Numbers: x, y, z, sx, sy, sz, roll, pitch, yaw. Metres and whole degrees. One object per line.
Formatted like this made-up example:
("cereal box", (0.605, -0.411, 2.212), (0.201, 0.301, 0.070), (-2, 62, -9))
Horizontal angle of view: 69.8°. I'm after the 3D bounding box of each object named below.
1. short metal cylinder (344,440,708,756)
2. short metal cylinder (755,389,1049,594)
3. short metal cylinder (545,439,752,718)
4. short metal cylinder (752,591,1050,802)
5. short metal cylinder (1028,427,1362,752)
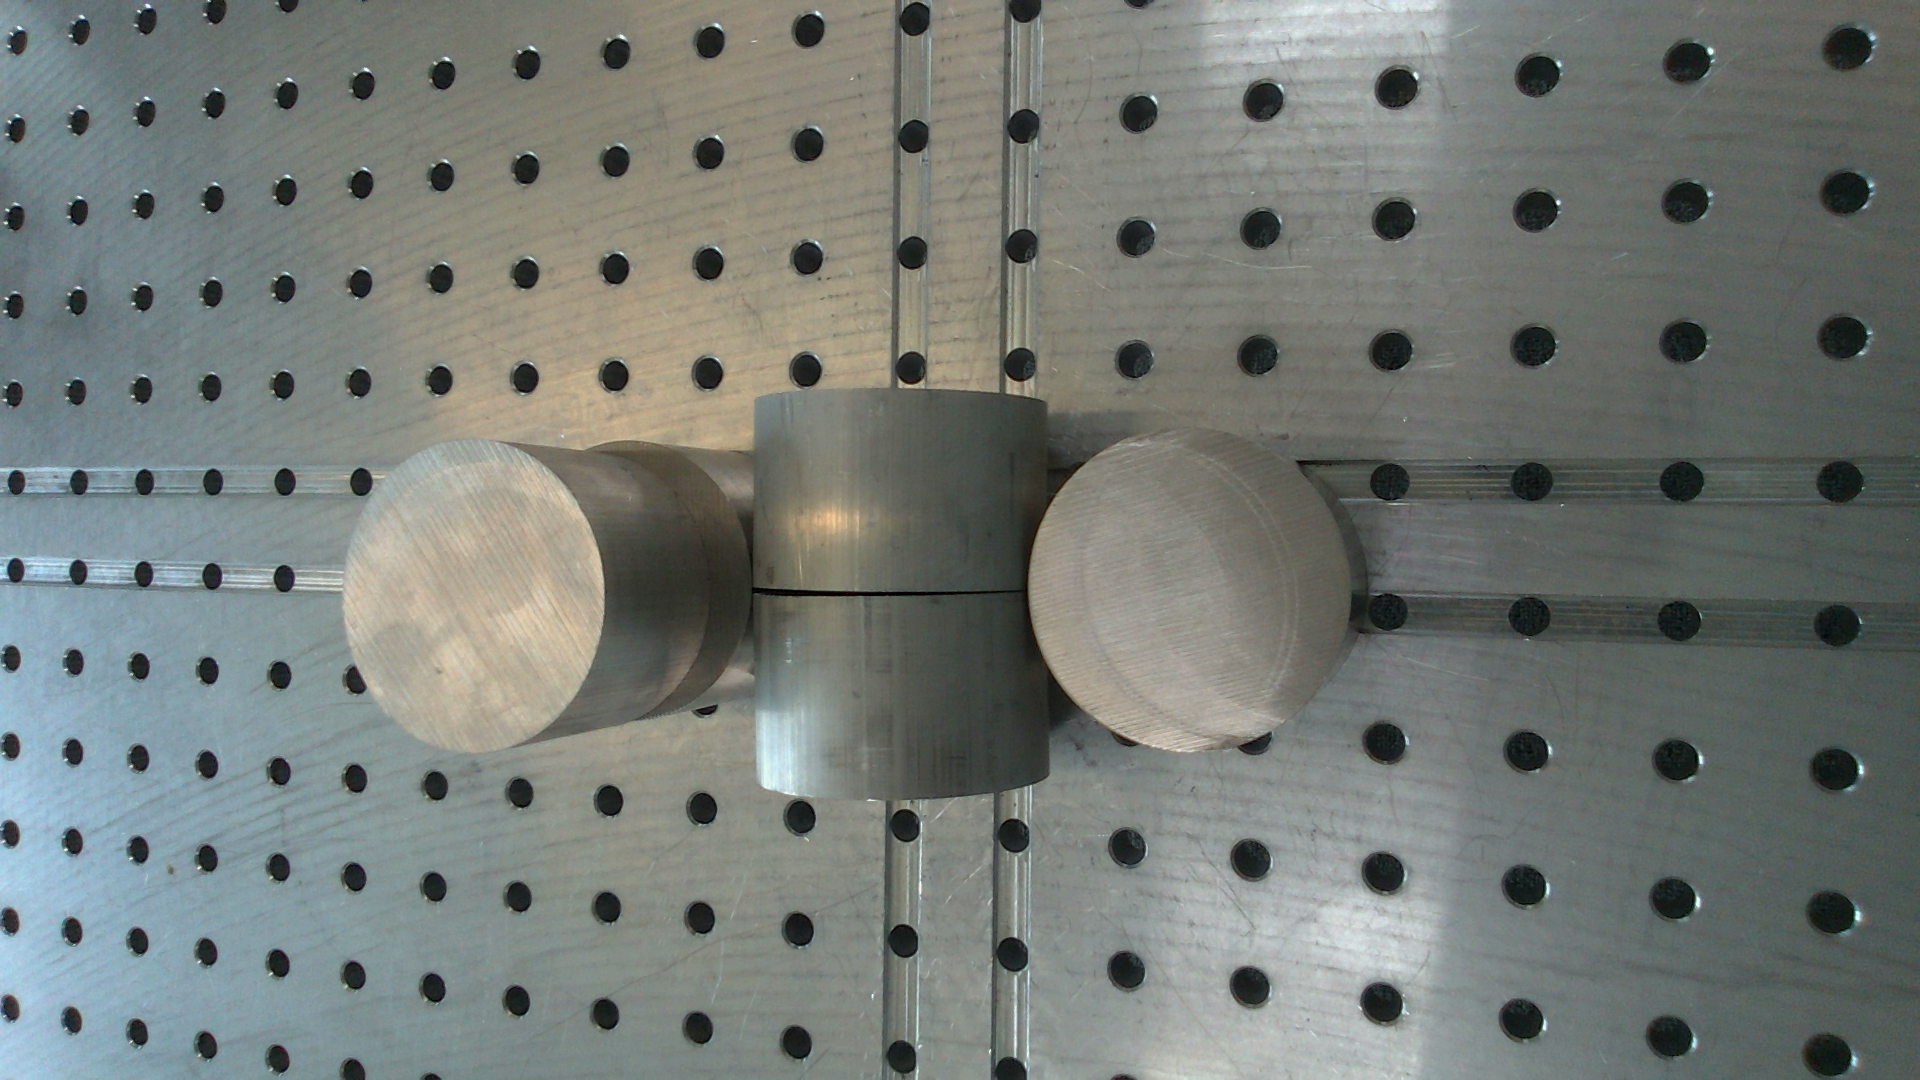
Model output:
("short metal cylinder", (-0.116, 0.015, 0.372), (0.080, 0.050, 0.080), (0, 90, 20))
("short metal cylinder", (-0.016, -0.013, 0.375), (0.080, 0.080, 0.050), (1, 91, 20))
("short metal cylinder", (-0.087, 0.011, 0.416), (0.080, 0.050, 0.080), (0, 90, 20))
("short metal cylinder", (-0.016, 0.039, 0.375), (0.080, 0.080, 0.050), (-1, 90, 20))
("short metal cylinder", (0.064, 0.012, 0.362), (0.080, 0.050, 0.080), (0, 90, 20))
